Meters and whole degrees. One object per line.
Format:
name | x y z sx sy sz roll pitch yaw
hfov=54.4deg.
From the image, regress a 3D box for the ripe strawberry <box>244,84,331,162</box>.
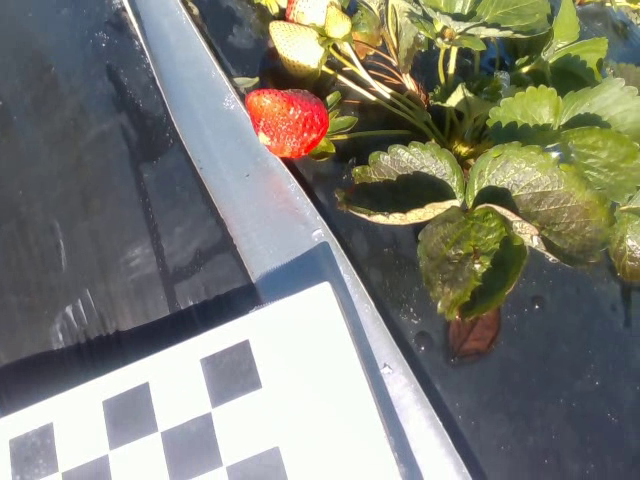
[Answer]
ripe strawberry | -0.017 -0.054 0.258 0.038 0.036 0.045 -33 -32 16
